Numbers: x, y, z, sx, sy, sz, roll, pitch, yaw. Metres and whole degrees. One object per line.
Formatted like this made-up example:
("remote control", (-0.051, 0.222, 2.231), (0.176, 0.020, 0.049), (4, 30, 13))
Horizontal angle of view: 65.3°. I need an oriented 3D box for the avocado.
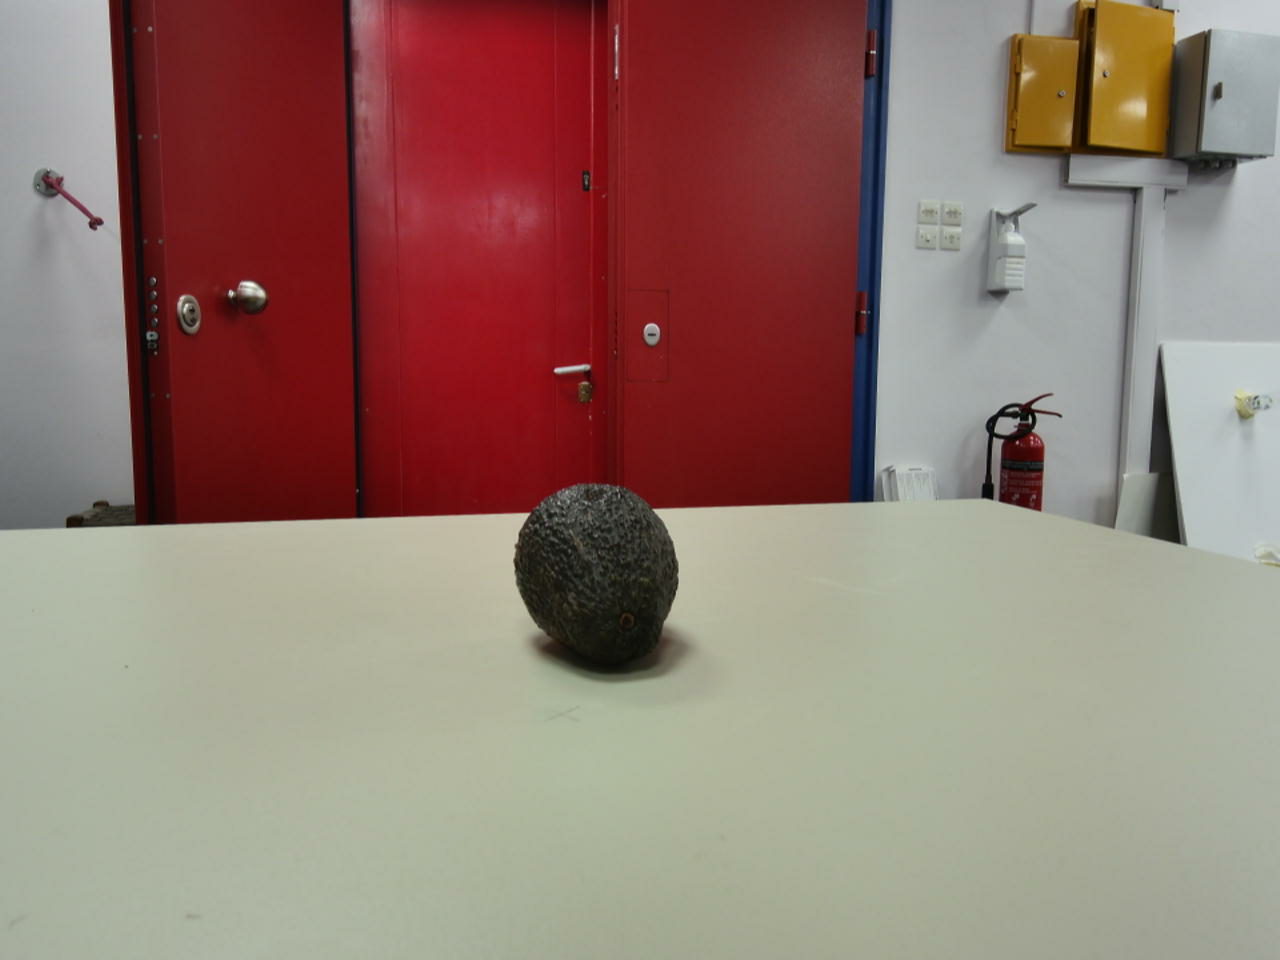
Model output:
("avocado", (-0.020, 0.037, 0.419), (0.070, 0.069, 0.090), (1, 4, 12))
